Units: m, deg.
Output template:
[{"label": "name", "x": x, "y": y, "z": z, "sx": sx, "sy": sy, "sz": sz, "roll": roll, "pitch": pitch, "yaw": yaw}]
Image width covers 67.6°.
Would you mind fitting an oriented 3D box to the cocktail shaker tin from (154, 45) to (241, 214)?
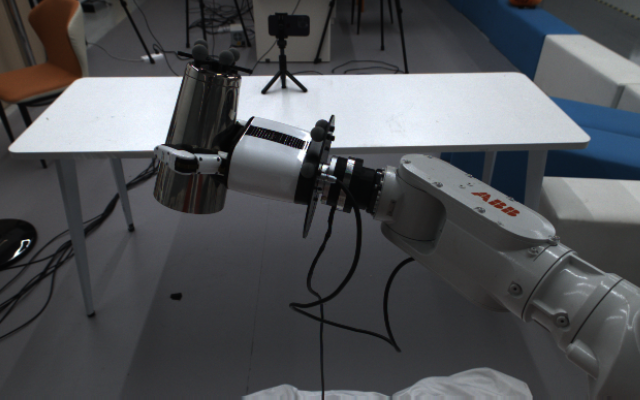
[{"label": "cocktail shaker tin", "x": -0.147, "y": -0.078, "z": 0.604, "sx": 0.093, "sy": 0.170, "sz": 0.093, "roll": 15, "pitch": 20, "yaw": -5}]
